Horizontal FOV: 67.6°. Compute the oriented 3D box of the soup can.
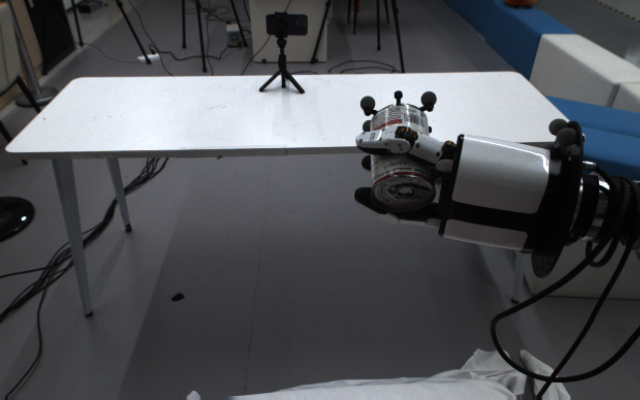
[{"bbox_3d":[0.091,-0.047,0.530,0.067,0.067,0.101,3,57,1],"label":"soup can"}]
